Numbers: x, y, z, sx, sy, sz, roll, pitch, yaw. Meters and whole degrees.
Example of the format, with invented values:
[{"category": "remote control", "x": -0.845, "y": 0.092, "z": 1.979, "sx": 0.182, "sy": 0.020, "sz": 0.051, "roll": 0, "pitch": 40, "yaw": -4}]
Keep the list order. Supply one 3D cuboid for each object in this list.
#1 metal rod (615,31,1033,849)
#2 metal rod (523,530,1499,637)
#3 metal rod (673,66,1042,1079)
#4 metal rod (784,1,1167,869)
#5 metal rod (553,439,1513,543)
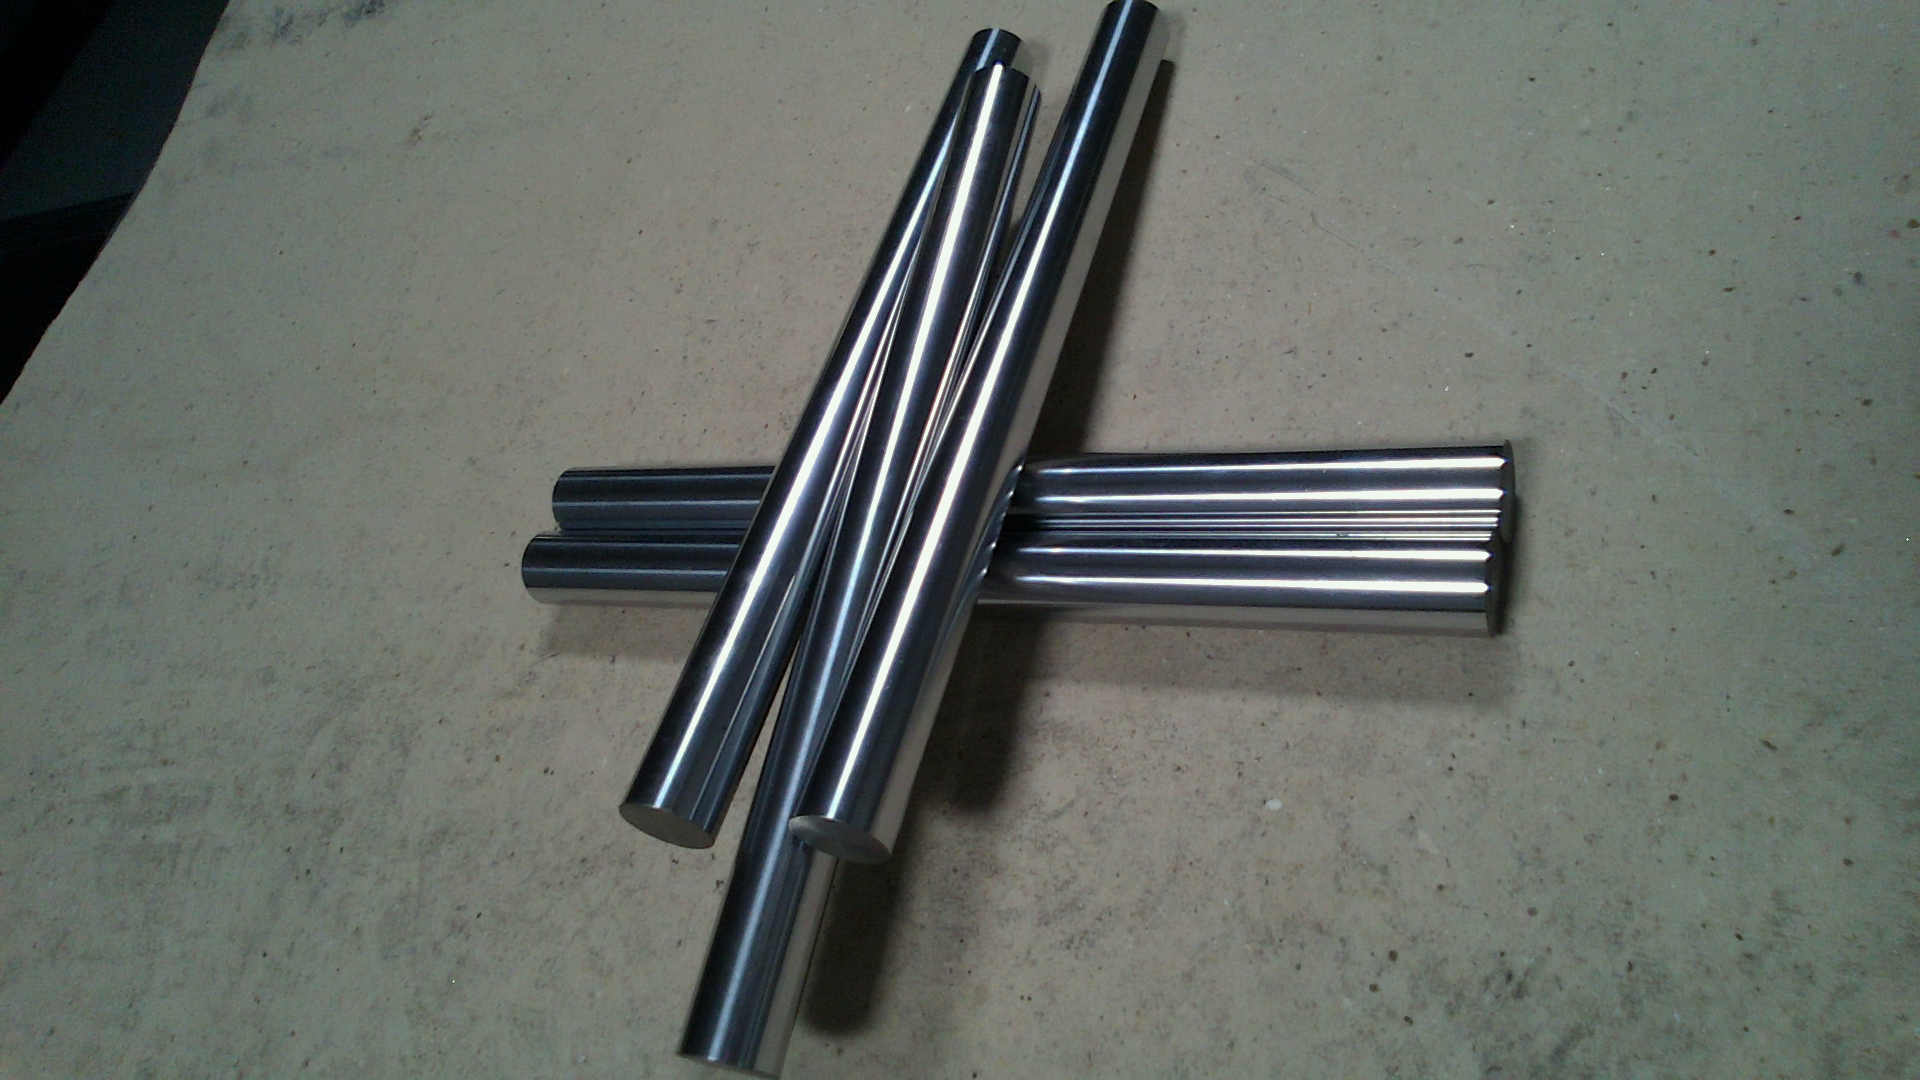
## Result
[{"category": "metal rod", "x": -0.029, "y": -0.051, "z": 0.414, "sx": 0.025, "sy": 0.025, "sz": 0.300, "roll": 0, "pitch": 53, "yaw": 29}, {"category": "metal rod", "x": -0.007, "y": 0.010, "z": 0.393, "sx": 0.299, "sy": 0.025, "sz": 0.025, "roll": 0, "pitch": 62, "yaw": 29}, {"category": "metal rod", "x": -0.020, "y": -0.011, "z": 0.379, "sx": 0.025, "sy": 0.025, "sz": 0.300, "roll": 0, "pitch": 61, "yaw": 28}, {"category": "metal rod", "x": 0.015, "y": -0.052, "z": 0.390, "sx": 0.025, "sy": 0.025, "sz": 0.300, "roll": 0, "pitch": 53, "yaw": 29}, {"category": "metal rod", "x": 0.000, "y": -0.012, "z": 0.402, "sx": 0.299, "sy": 0.025, "sz": 0.025, "roll": 0, "pitch": 62, "yaw": 29}]
